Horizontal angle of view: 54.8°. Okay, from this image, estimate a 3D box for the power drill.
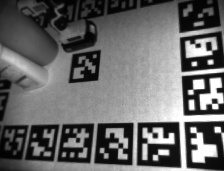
[{"bbox_3d":[-0.148,-0.208,0.604,0.183,0.189,0.057,-10,72,14],"label":"power drill"}]

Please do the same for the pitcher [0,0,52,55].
[{"bbox_3d":[-0.307,-0.178,0.649,0.188,0.245,0.132,-32,65,11],"label":"pitcher"}]

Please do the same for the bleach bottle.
[{"bbox_3d":[-0.328,-0.086,0.604,0.102,0.254,0.067,-14,68,20],"label":"bleach bottle"}]
